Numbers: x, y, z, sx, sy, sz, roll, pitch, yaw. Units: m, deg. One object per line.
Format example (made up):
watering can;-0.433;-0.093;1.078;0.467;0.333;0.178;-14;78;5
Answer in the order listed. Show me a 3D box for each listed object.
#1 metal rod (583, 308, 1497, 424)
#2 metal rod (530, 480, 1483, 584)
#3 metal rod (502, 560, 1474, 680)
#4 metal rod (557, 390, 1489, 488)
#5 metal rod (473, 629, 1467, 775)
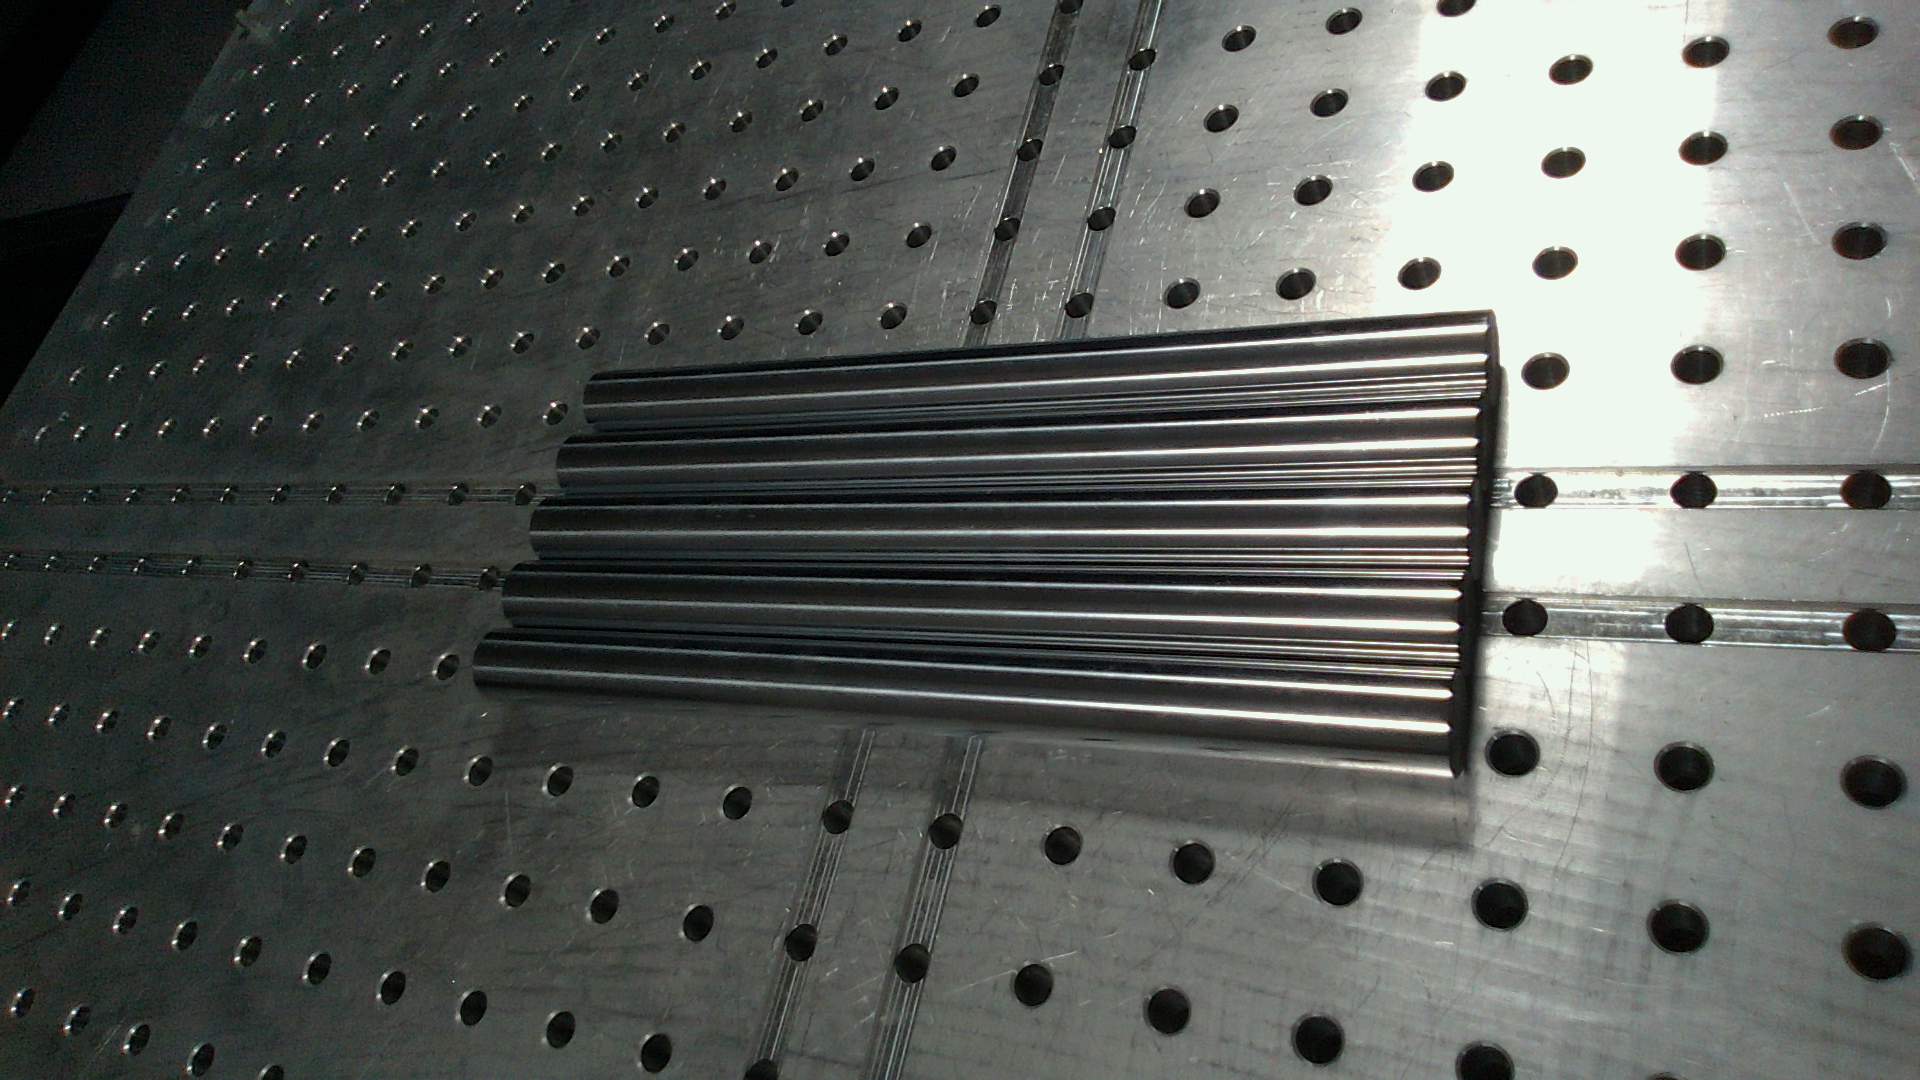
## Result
metal rod;0.005;-0.047;0.424;0.299;0.025;0.025;0;62;29
metal rod;-0.007;-0.002;0.402;0.299;0.025;0.025;0;62;29
metal rod;-0.013;0.020;0.392;0.299;0.025;0.025;0;62;29
metal rod;-0.002;-0.025;0.413;0.299;0.025;0.025;0;62;29
metal rod;-0.019;0.041;0.382;0.299;0.025;0.025;0;62;28
